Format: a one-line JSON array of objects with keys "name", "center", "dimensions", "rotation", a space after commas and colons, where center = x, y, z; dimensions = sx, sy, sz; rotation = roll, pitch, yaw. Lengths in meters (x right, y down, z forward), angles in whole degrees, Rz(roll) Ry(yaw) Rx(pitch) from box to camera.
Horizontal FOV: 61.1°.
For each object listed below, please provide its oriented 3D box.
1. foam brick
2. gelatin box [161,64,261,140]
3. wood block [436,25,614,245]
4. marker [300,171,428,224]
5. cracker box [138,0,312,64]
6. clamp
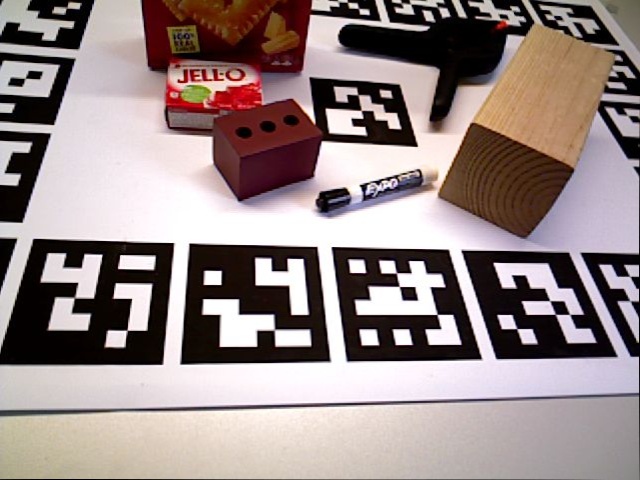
[{"name": "foam brick", "center": [-0.050, -0.071, 0.455], "dimensions": [0.076, 0.052, 0.052], "rotation": [-22, 62, -24]}, {"name": "gelatin box", "center": [-0.101, -0.128, 0.505], "dimensions": [0.088, 0.031, 0.072], "rotation": [-1, 56, -11]}, {"name": "wood block", "center": [0.194, -0.106, 0.507], "dimensions": [0.090, 0.093, 0.201], "rotation": [27, 51, 12]}, {"name": "marker", "center": [0.038, -0.037, 0.465], "dimensions": [0.119, 0.020, 0.019], "rotation": [-17, 60, -21]}, {"name": "cracker box", "center": [-0.082, -0.268, 0.485], "dimensions": [0.162, 0.219, 0.071], "rotation": [-1, 53, -15]}, {"name": "clamp", "center": [0.135, -0.212, 0.604], "dimensions": [0.199, 0.037, 0.165], "rotation": [-28, 64, -27]}]
